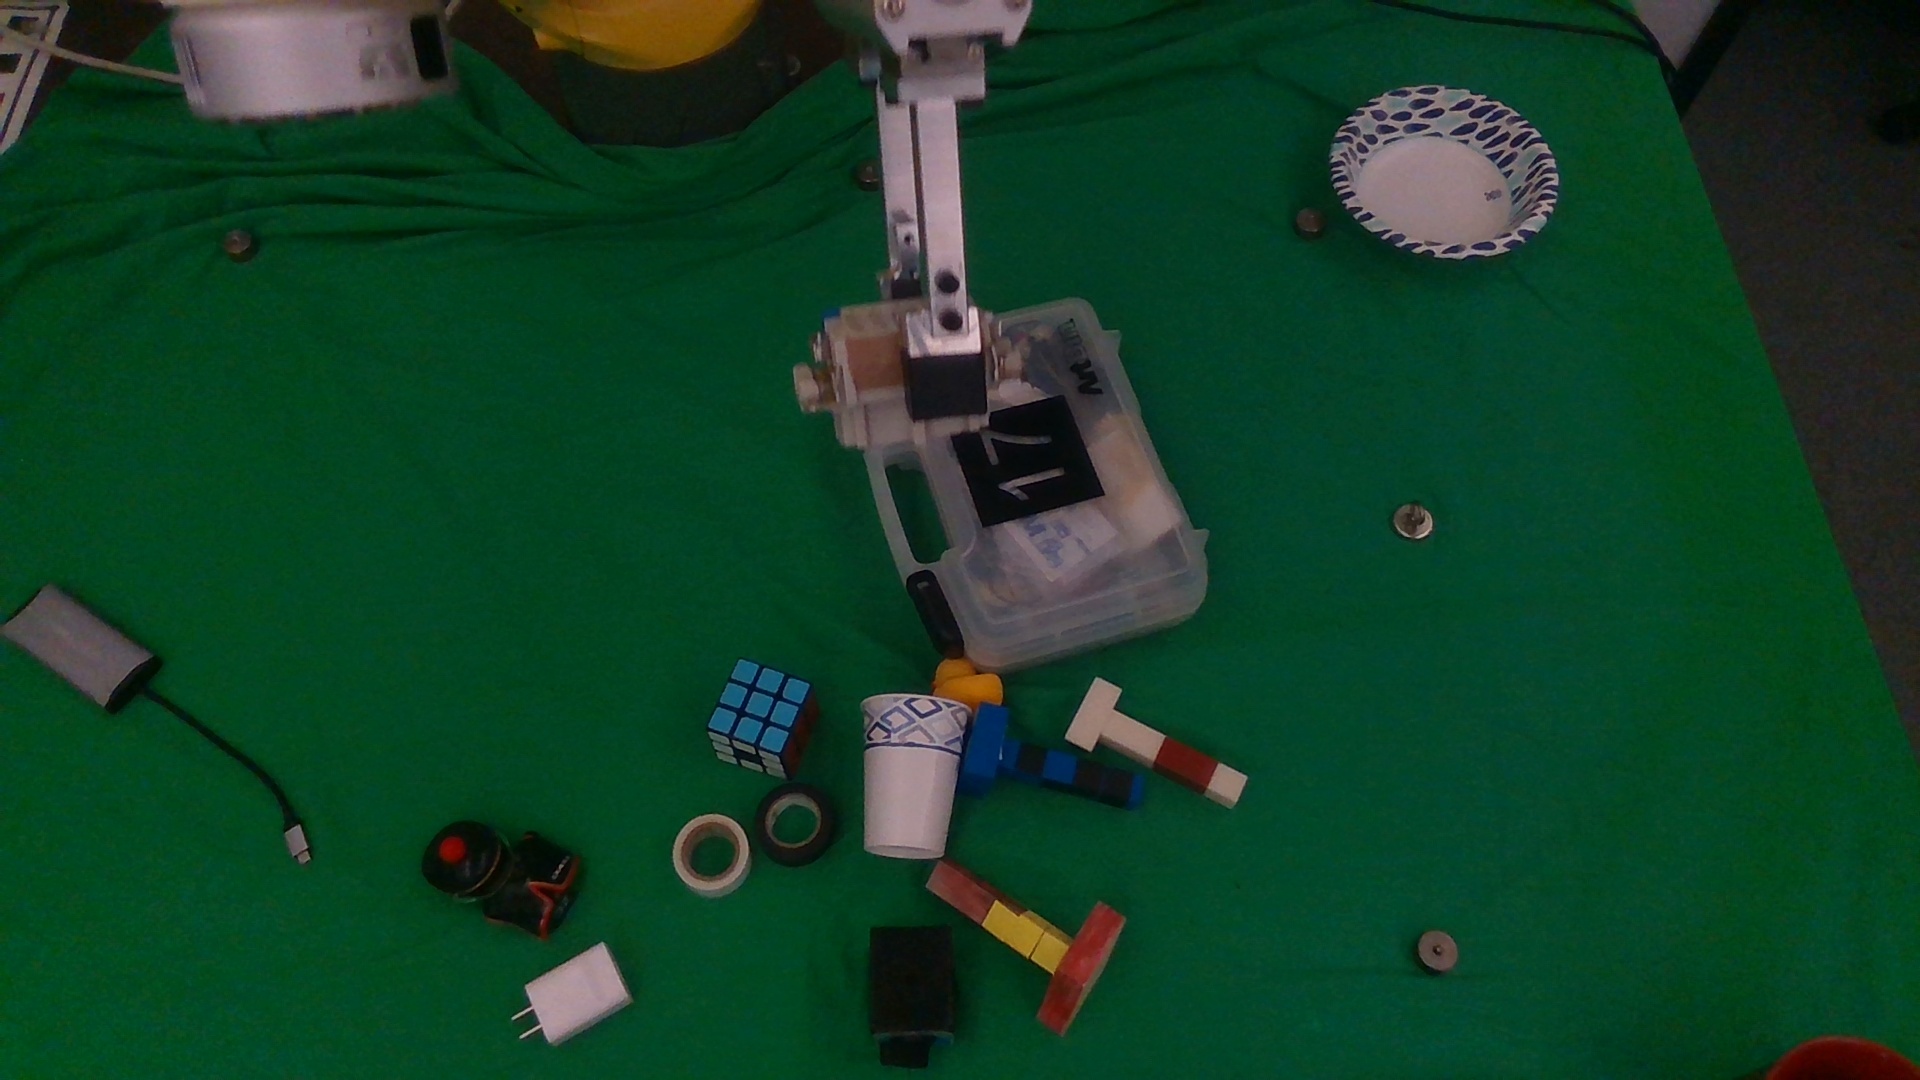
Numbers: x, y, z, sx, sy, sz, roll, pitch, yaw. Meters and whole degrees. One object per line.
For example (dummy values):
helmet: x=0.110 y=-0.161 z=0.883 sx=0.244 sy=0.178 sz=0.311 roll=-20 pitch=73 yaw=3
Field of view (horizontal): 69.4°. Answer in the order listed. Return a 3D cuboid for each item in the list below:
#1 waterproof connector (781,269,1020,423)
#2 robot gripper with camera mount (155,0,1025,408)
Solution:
waterproof connector: x=-0.017 y=-0.054 z=0.387 sx=0.065 sy=0.037 sz=0.035 roll=-7 pitch=20 yaw=-4
robot gripper with camera mount: x=-0.085 y=-0.102 z=0.337 sx=0.193 sy=0.158 sz=0.119 roll=-10 pitch=19 yaw=-14
